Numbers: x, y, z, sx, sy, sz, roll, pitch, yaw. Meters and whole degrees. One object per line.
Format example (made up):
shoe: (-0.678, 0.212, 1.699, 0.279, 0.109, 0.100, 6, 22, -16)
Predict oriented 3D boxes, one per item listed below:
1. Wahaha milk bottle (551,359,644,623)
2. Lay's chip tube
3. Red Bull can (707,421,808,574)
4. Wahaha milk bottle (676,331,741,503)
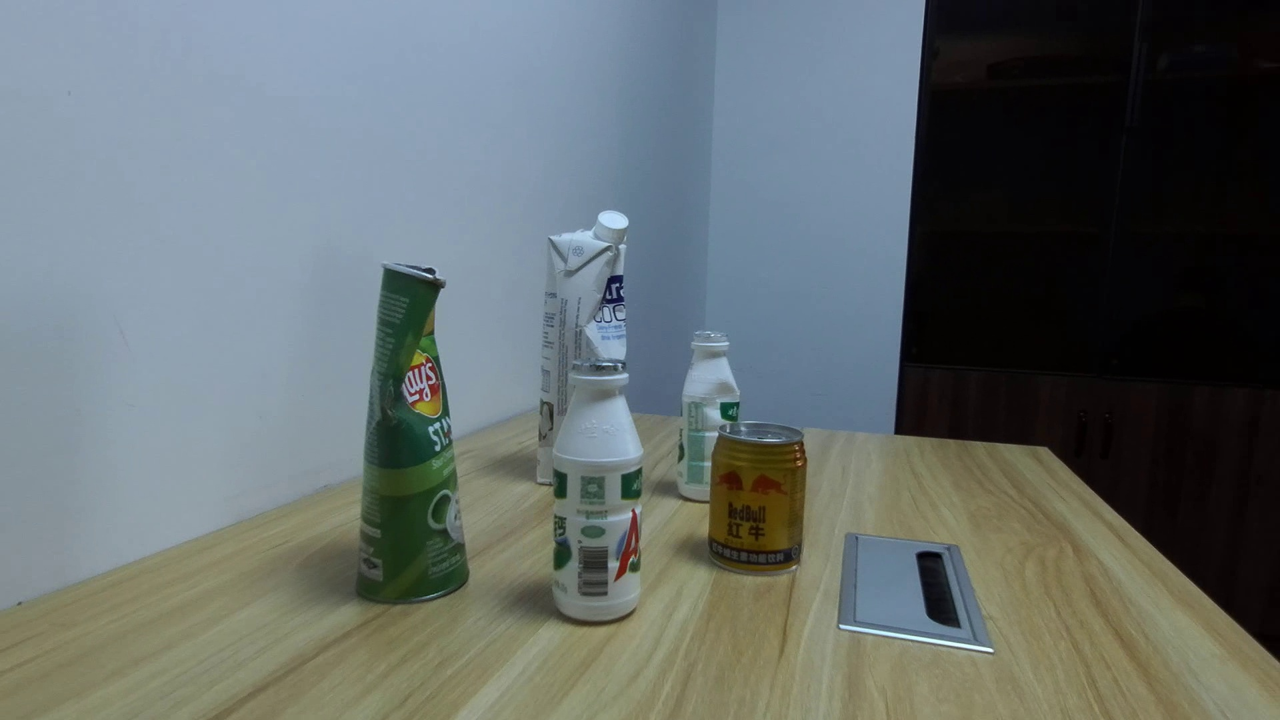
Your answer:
Wahaha milk bottle: (-0.024, 0.074, 0.411, 0.053, 0.147, 0.053, 2, 6, 0)
Lay's chip tube: (-0.141, 0.042, 0.438, 0.069, 0.201, 0.077, -5, 11, -45)
Red Bull can: (0.082, 0.094, 0.494, 0.067, 0.093, 0.067, 3, 7, 0)
Wahaha milk bottle: (0.063, 0.049, 0.630, 0.055, 0.149, 0.055, 2, 12, 0)
